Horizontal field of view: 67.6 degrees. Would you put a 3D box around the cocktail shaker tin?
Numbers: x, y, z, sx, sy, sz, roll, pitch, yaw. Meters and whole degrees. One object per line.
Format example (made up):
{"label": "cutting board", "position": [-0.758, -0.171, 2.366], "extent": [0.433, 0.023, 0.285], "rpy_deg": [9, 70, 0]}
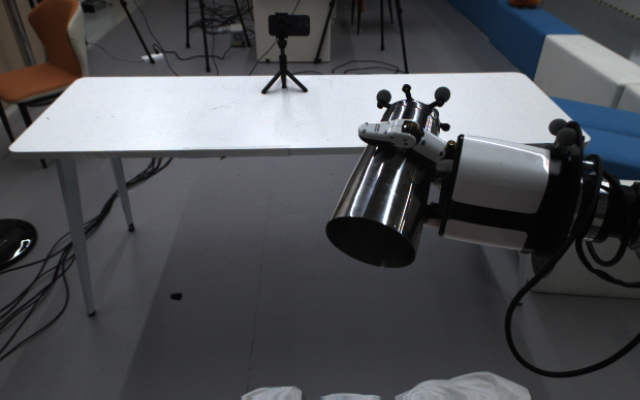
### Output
{"label": "cocktail shaker tin", "position": [0.078, -0.025, 0.515], "extent": [0.093, 0.093, 0.170], "rpy_deg": [13, 58, 16]}
